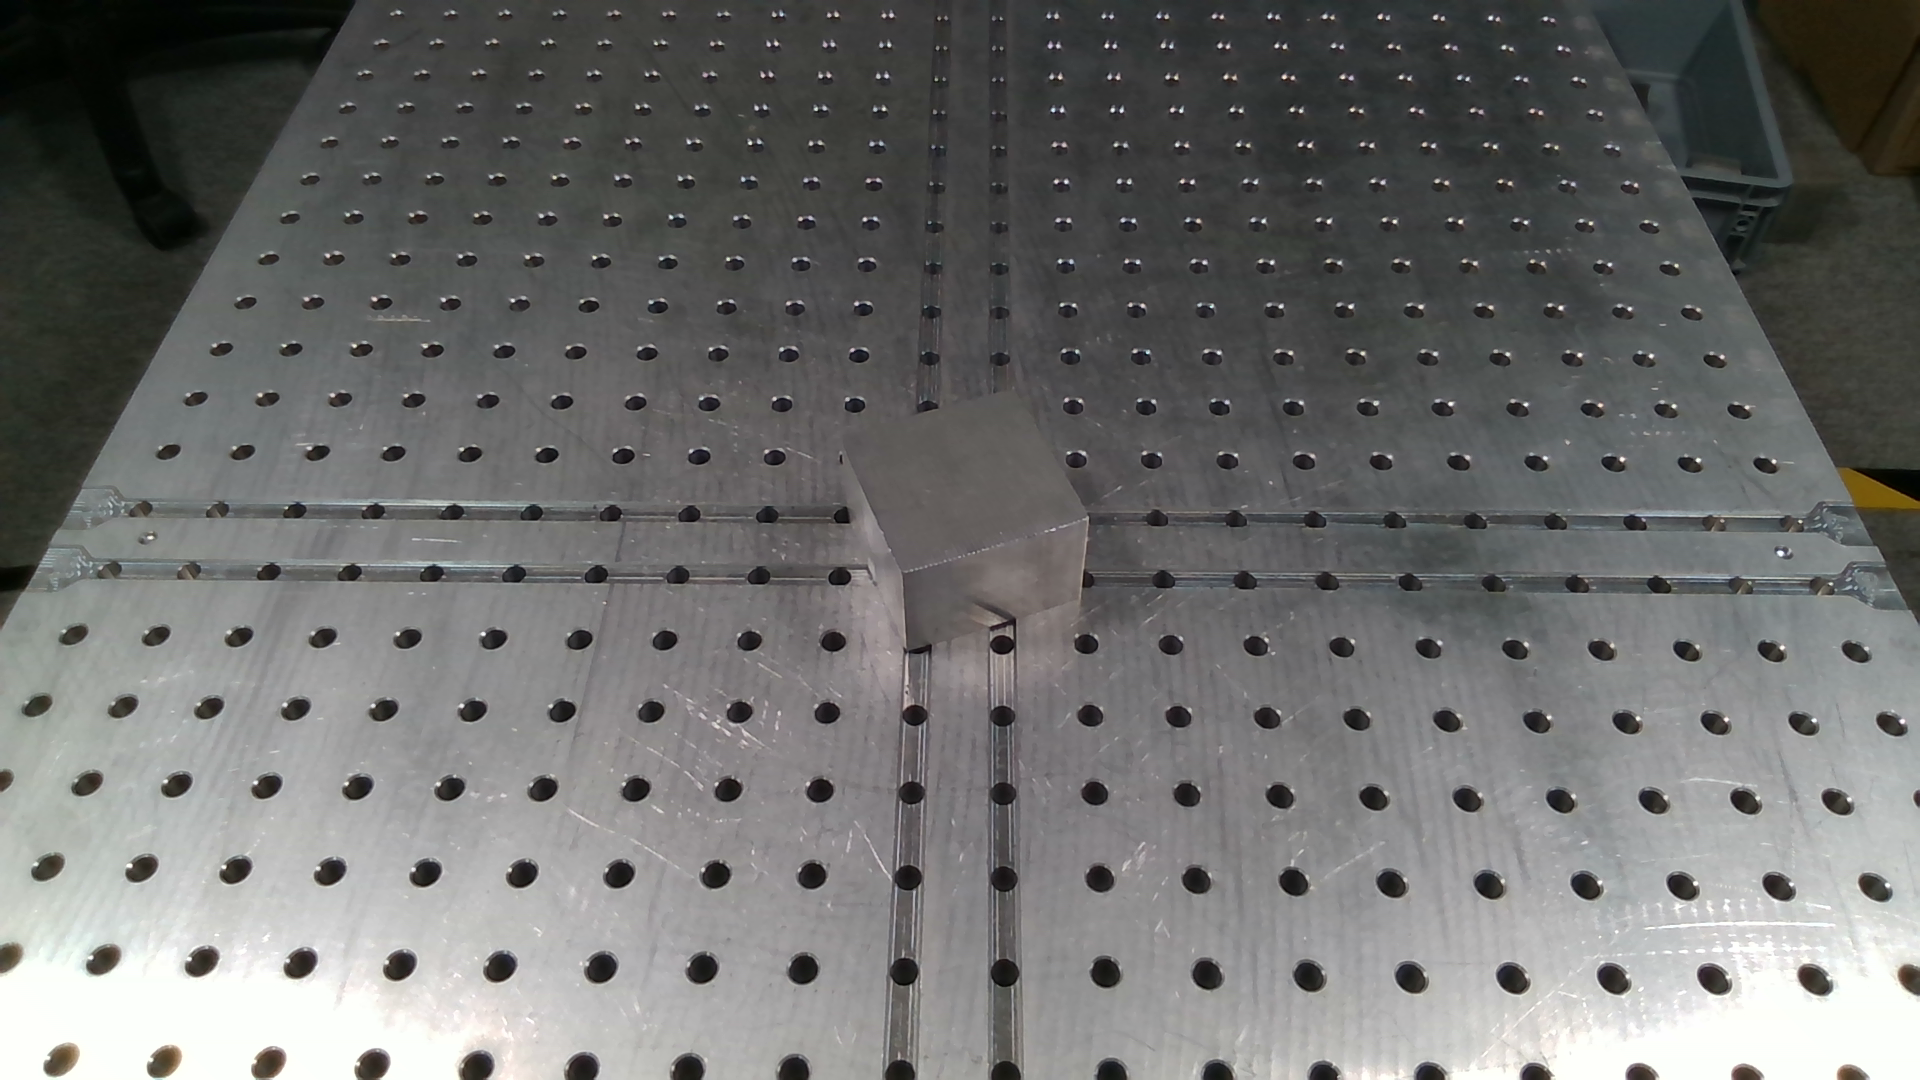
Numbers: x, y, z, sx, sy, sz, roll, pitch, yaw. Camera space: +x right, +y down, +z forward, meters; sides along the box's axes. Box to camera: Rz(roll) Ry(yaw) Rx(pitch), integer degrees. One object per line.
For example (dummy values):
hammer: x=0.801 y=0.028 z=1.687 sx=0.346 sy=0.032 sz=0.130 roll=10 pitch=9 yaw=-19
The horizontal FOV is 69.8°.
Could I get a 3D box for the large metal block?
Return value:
large metal block: x=0.000 y=-0.010 z=0.579 sx=0.080 sy=0.050 sz=0.080 roll=-16 pitch=52 yaw=-13
